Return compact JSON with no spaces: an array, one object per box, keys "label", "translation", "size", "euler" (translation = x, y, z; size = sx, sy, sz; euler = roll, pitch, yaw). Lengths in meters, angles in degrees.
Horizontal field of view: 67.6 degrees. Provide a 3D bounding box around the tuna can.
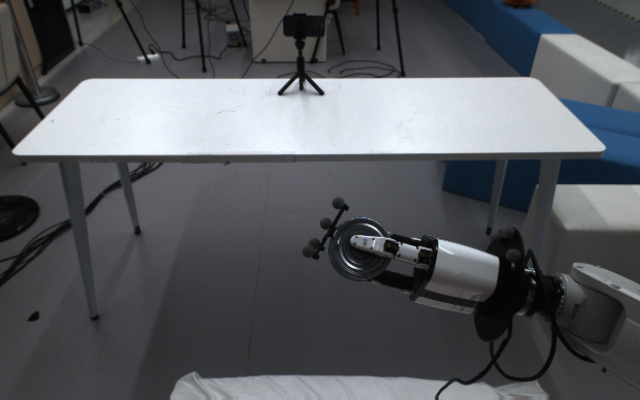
[{"label":"tuna can","translation":[0.058,0.066,0.660],"size":[0.085,0.034,0.085],"euler":[1,75,-5]}]
